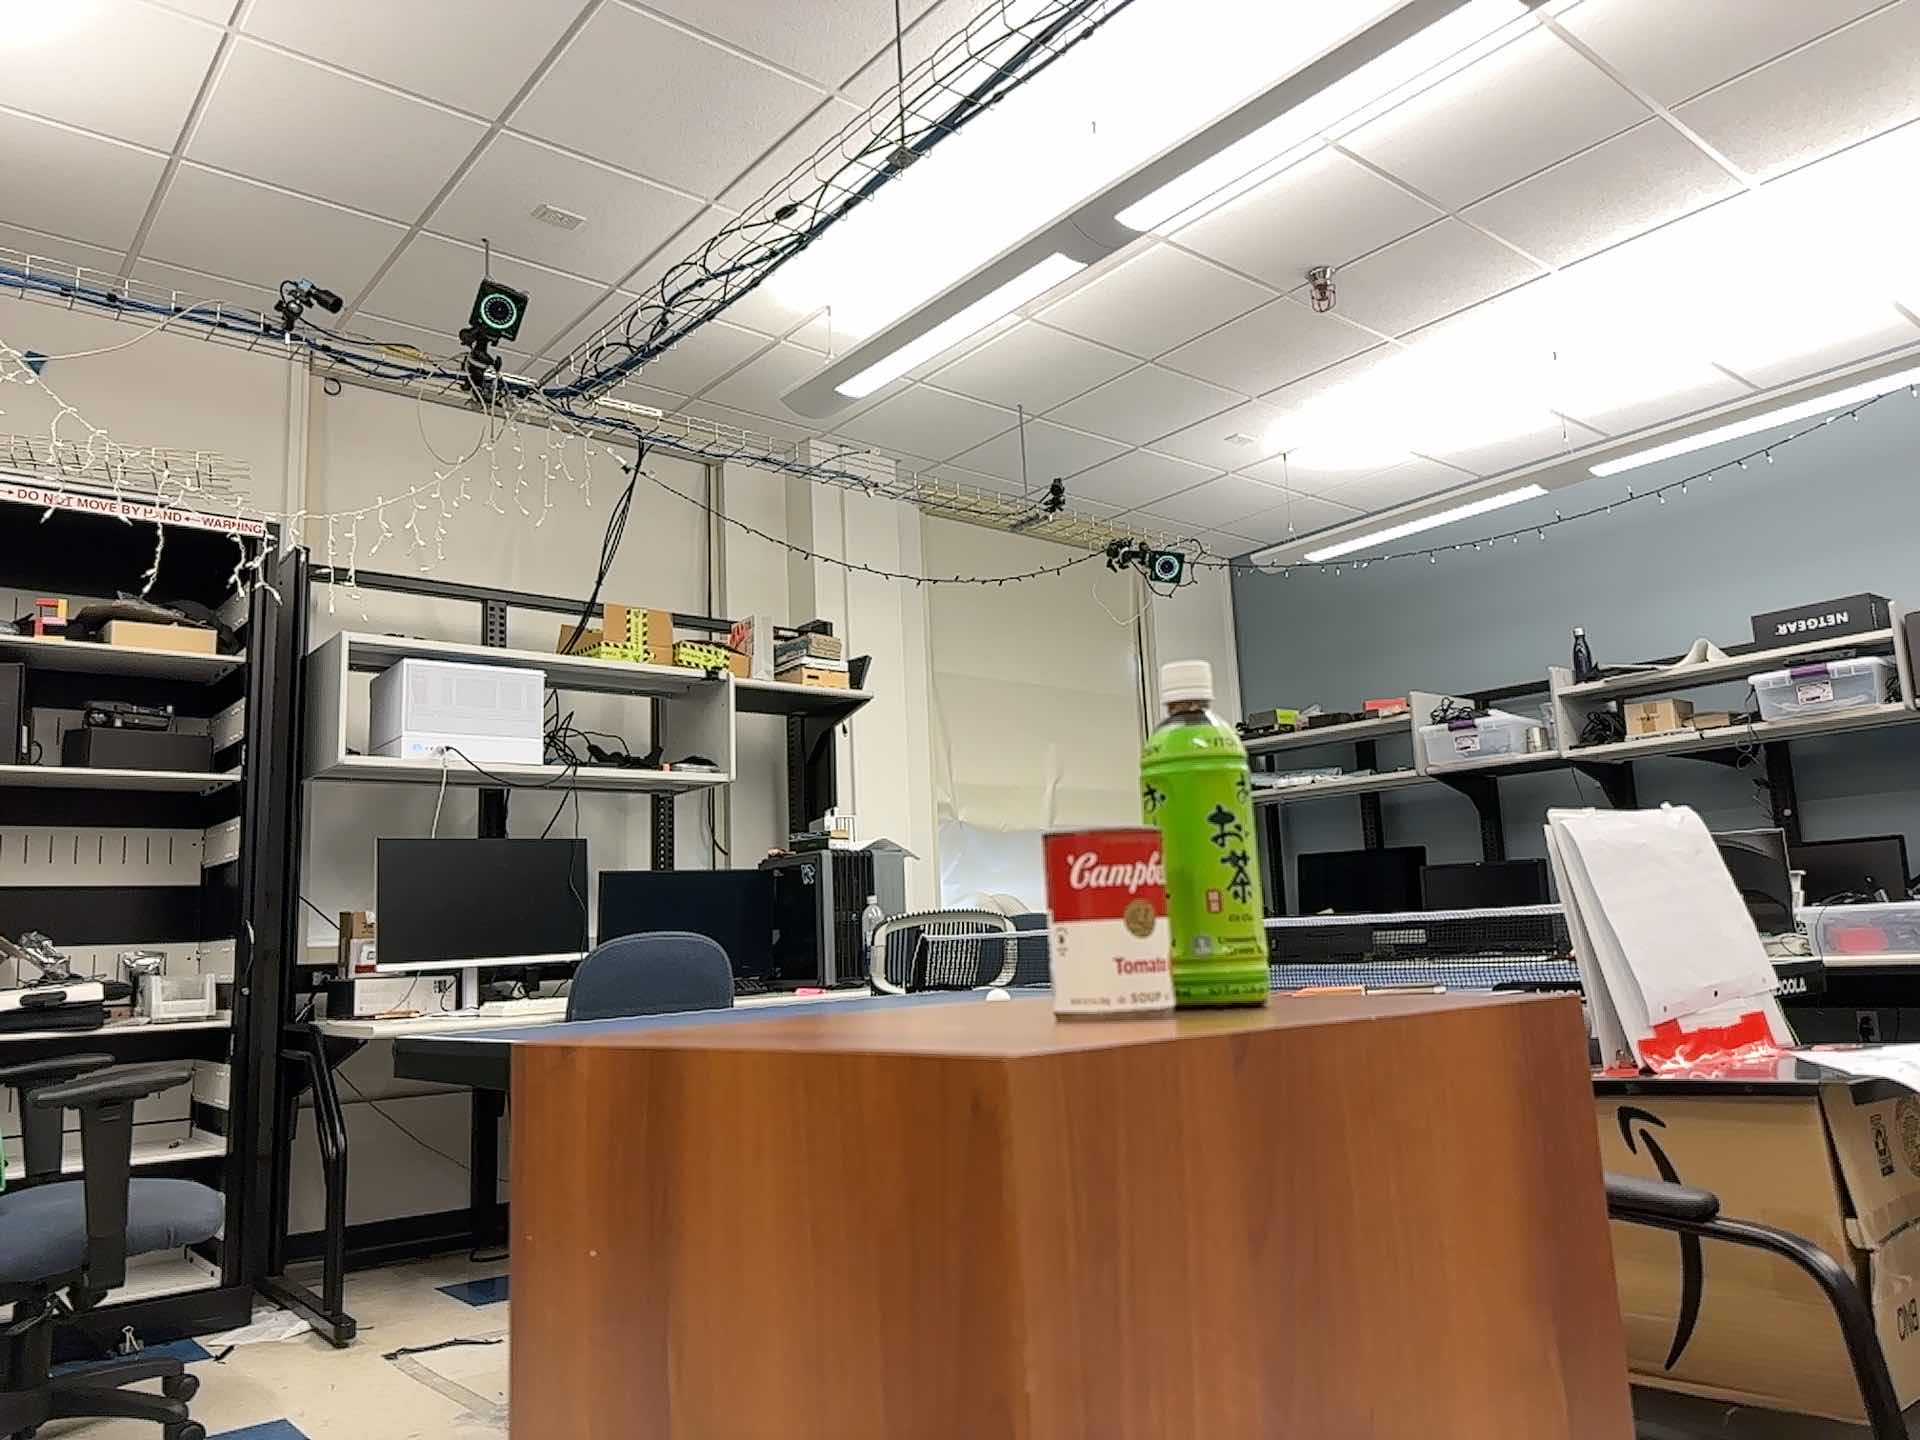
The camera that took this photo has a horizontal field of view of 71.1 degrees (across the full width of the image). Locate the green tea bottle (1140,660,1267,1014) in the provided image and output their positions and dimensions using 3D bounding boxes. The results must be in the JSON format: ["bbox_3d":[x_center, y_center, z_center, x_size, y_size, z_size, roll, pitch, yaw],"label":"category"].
[{"bbox_3d":[0.144,0.069,0.817,0.073,0.212,0.073,-3,-7,0],"label":"green tea bottle"}]

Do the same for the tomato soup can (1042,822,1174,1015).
[{"bbox_3d":[0.080,0.109,0.738,0.067,0.102,0.067,-2,-9,0],"label":"tomato soup can"}]
